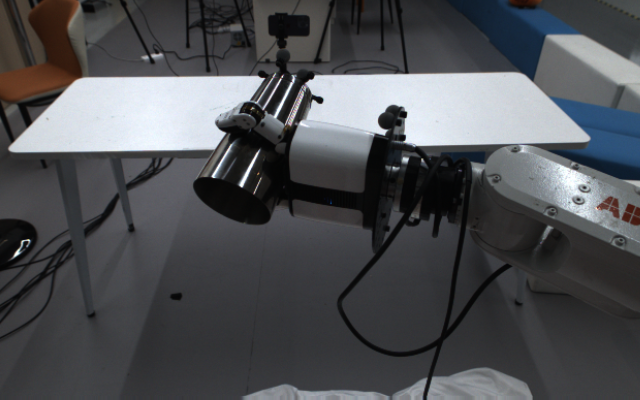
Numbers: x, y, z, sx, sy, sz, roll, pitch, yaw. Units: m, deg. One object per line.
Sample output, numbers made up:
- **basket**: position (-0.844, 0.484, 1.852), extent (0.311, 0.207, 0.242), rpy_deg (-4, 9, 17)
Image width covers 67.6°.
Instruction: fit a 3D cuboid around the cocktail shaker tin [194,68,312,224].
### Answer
- **cocktail shaker tin**: position (-0.068, -0.065, 0.565), extent (0.093, 0.093, 0.170), rpy_deg (14, 61, 16)
